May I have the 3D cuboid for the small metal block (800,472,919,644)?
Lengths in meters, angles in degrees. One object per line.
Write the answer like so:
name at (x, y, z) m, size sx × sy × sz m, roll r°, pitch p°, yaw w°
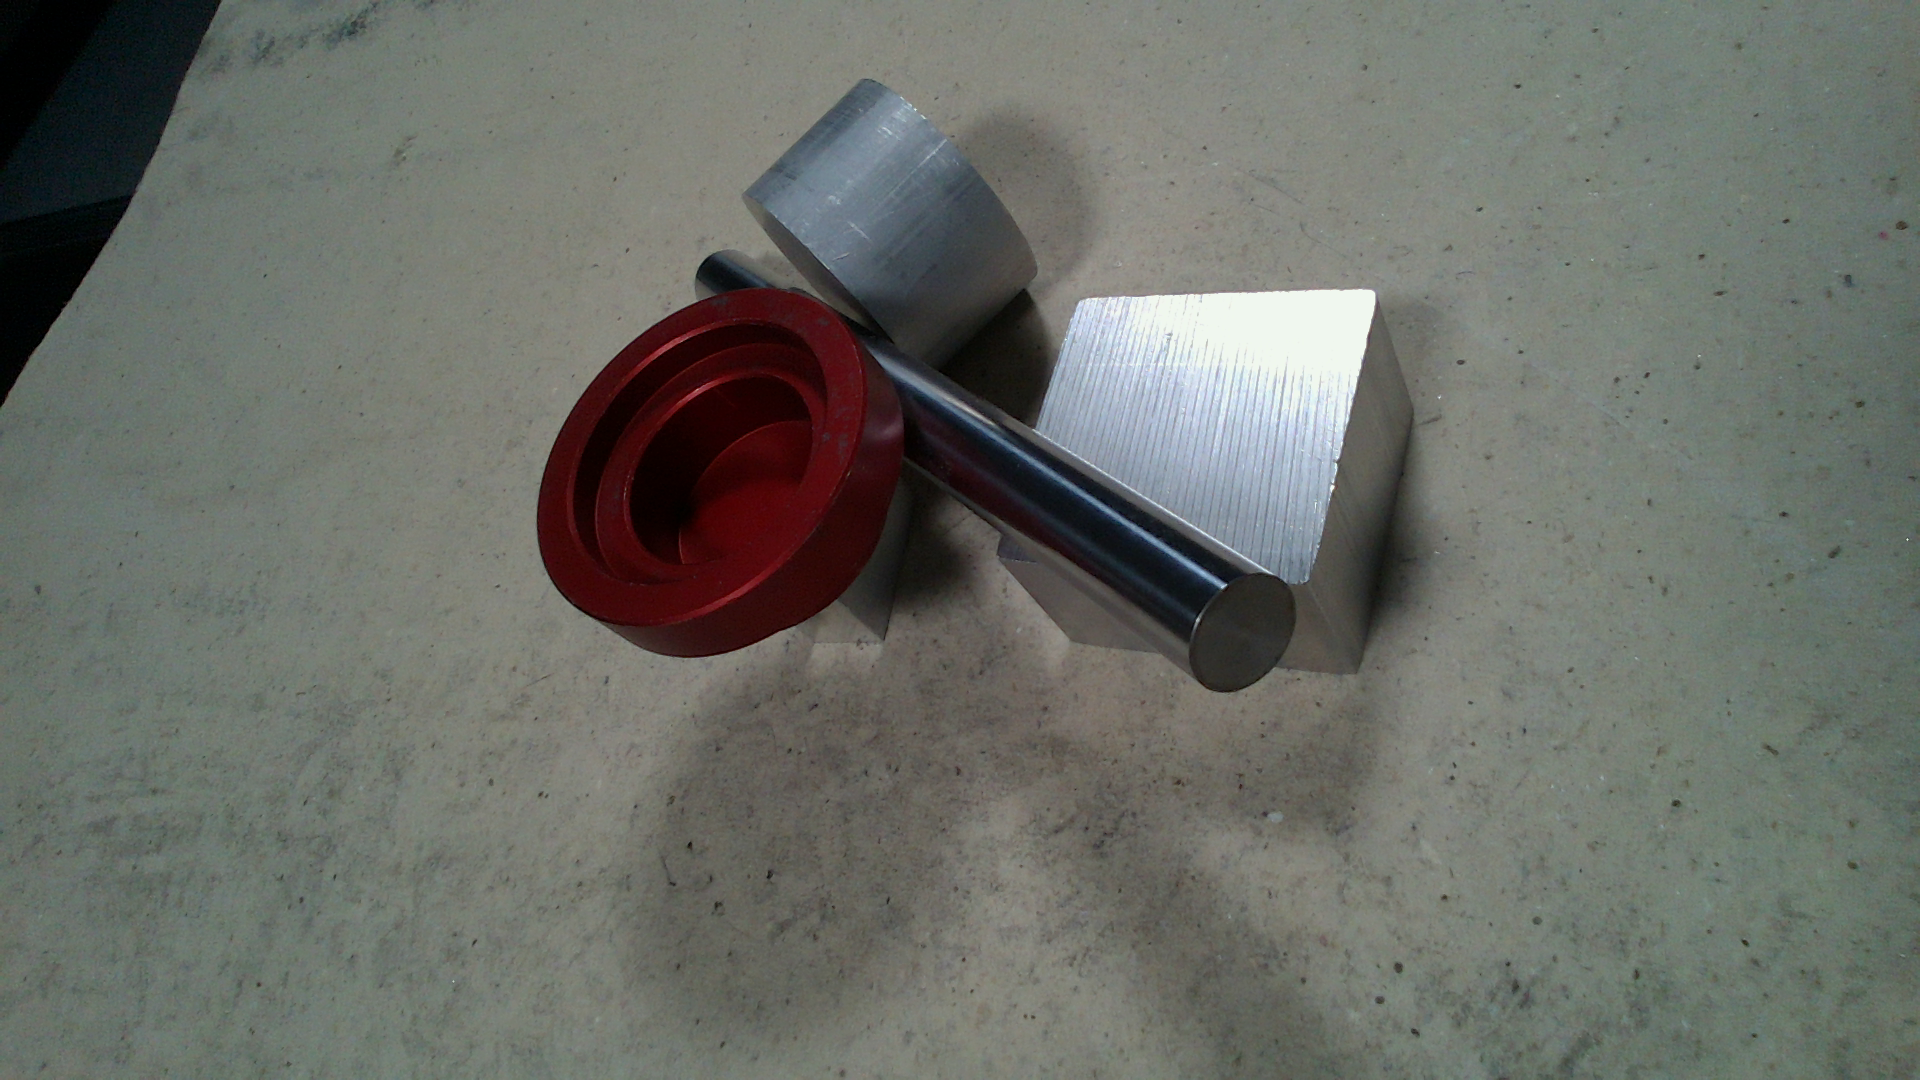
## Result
small metal block at (-0.039, -0.003, 0.402) m, size 0.025 × 0.050 × 0.050 m, roll -2°, pitch 61°, yaw 28°

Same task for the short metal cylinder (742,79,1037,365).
short metal cylinder at (-0.022, -0.094, 0.429) m, size 0.050 × 0.080 × 0.080 m, roll -44°, pitch 51°, yaw -2°

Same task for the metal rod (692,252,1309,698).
metal rod at (-0.015, -0.037, 0.377) m, size 0.025 × 0.025 × 0.299 m, roll -46°, pitch 37°, yaw -4°

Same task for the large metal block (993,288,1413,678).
large metal block at (0.065, -0.016, 0.353) m, size 0.080 × 0.050 × 0.080 m, roll 4°, pitch 64°, yaw 31°

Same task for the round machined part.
round machined part at (-0.058, -0.014, 0.359) m, size 0.098 × 0.042 × 0.098 m, roll -13°, pitch 57°, yaw 22°
